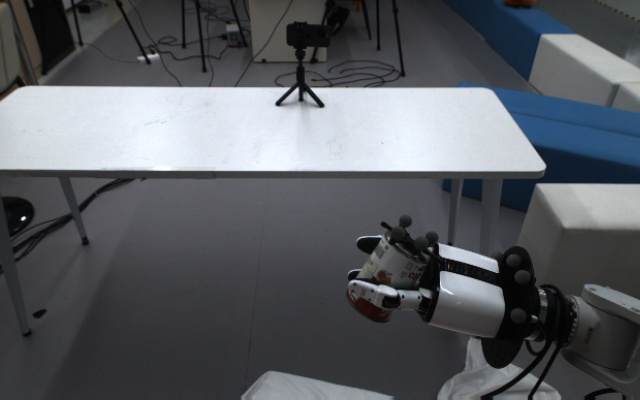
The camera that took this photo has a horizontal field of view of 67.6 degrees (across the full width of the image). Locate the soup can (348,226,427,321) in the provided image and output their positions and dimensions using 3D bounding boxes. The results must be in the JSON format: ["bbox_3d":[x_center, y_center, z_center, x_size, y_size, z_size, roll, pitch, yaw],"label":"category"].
[{"bbox_3d":[0.089,0.098,0.626,0.067,0.101,0.067,27,18,-10],"label":"soup can"}]
